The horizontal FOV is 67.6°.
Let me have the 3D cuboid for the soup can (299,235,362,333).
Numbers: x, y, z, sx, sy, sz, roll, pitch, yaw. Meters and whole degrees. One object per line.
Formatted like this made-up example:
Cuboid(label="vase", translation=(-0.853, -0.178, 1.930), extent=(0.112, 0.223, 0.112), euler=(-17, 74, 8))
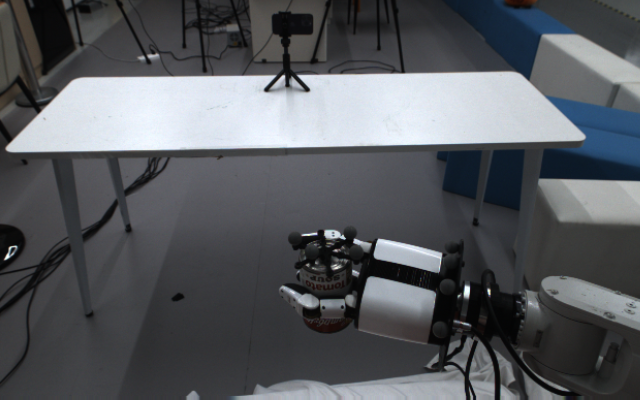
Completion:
Cuboid(label="soup can", translation=(0.010, 0.110, 0.617), extent=(0.067, 0.101, 0.067), euler=(-2, 32, 1))
